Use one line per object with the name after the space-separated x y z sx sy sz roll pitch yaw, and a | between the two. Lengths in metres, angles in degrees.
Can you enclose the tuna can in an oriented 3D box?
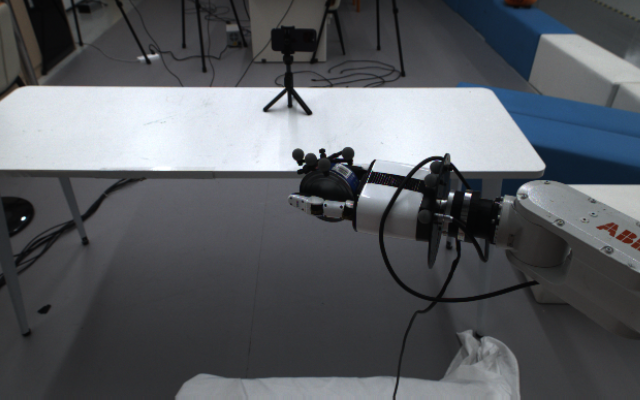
0.017 -0.013 0.701 0.085 0.085 0.034 17 36 20 | tuna can
